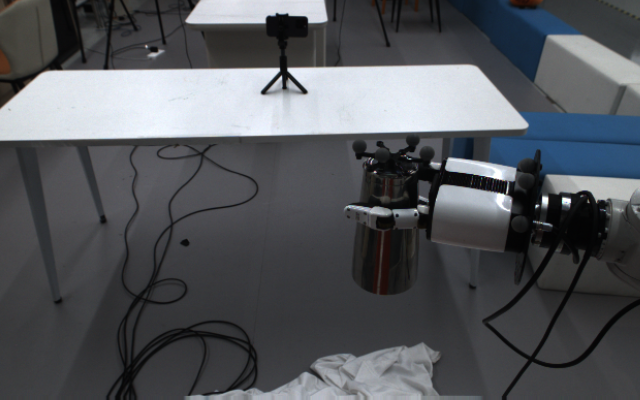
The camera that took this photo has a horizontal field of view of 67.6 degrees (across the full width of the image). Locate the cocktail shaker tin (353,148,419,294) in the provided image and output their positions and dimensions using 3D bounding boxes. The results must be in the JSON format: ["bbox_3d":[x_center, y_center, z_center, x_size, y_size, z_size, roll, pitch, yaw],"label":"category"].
[{"bbox_3d":[0.093,0.025,0.630,0.093,0.170,0.093,-1,32,1],"label":"cocktail shaker tin"}]
